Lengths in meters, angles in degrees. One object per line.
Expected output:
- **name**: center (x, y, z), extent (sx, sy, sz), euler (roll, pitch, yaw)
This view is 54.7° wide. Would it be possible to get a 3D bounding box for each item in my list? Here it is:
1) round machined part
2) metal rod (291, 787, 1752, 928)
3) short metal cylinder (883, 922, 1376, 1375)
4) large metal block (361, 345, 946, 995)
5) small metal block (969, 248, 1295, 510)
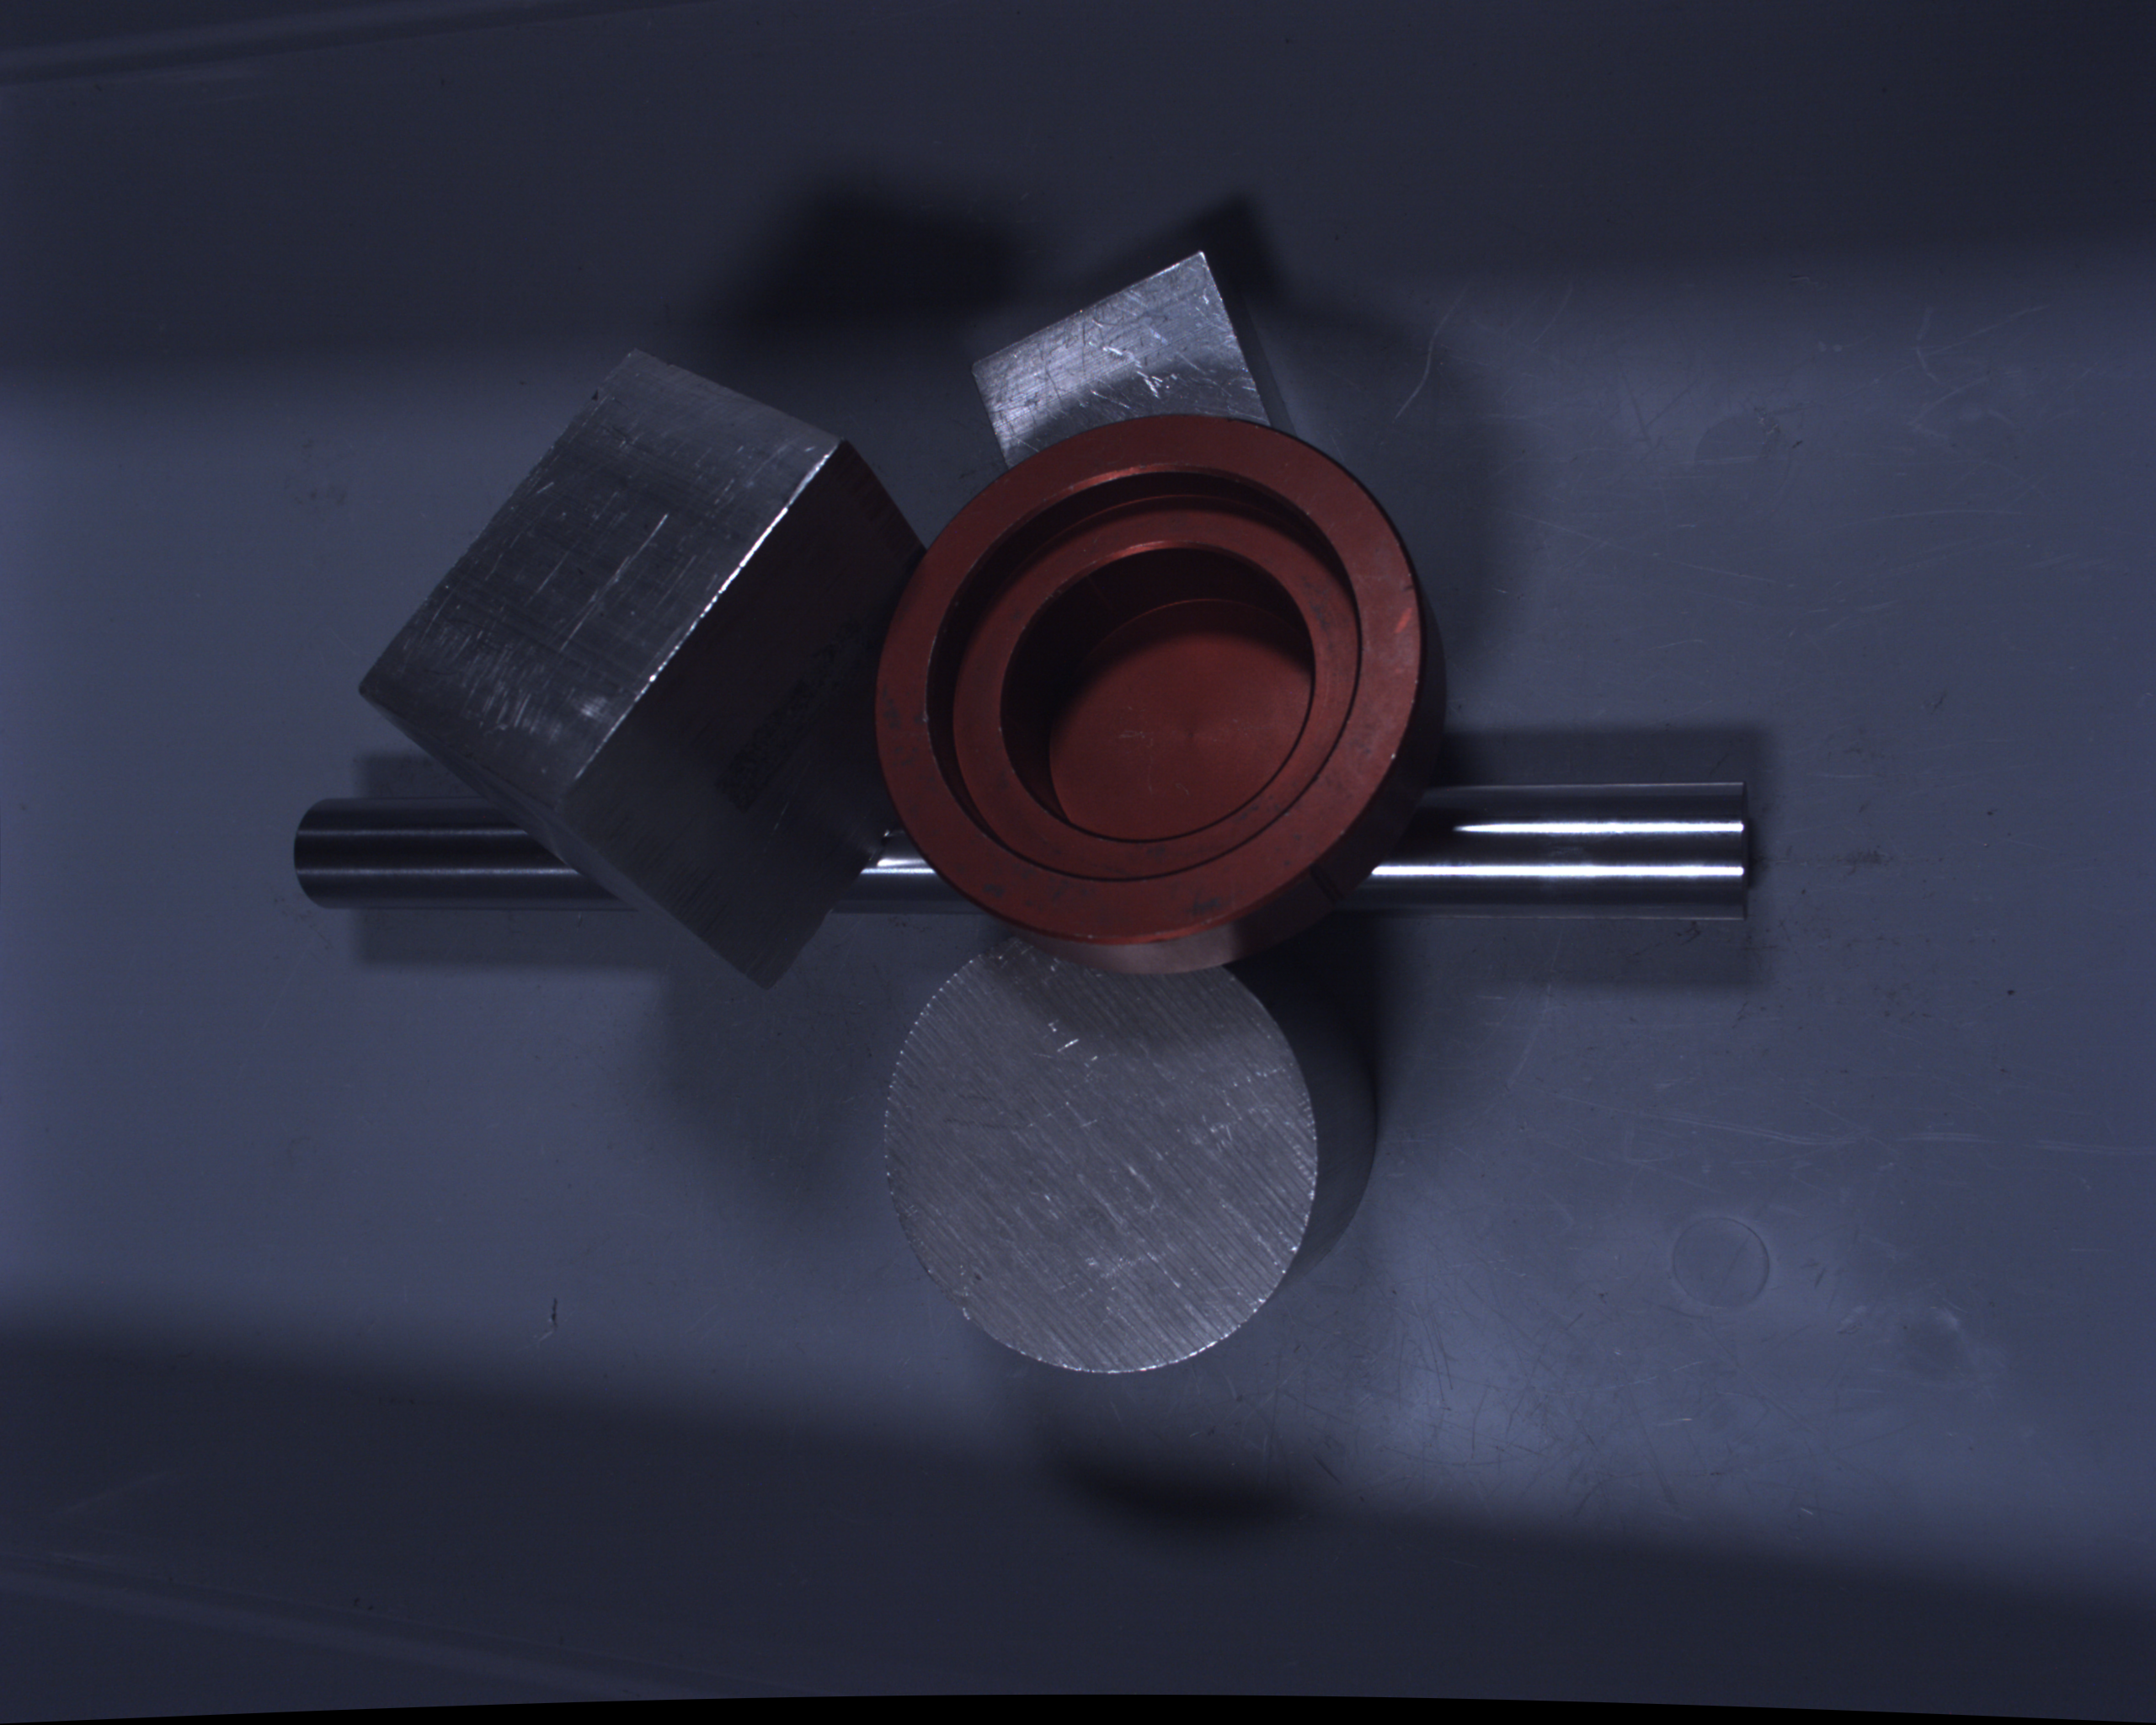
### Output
- **round machined part**: center (0.017, -0.027, 0.373), extent (0.098, 0.042, 0.098), euler (-6, 70, 18)
- **metal rod**: center (-0.024, -0.001, 0.415), extent (0.301, 0.025, 0.025), euler (0, 90, 19)
- **short metal cylinder**: center (0.011, 0.050, 0.390), extent (0.080, 0.050, 0.079), euler (0, 90, 19)
- **large metal block**: center (-0.069, -0.034, 0.387), extent (0.050, 0.080, 0.080), euler (28, 76, 28)
- **small metal block**: center (0.014, -0.082, 0.404), extent (0.050, 0.025, 0.050), euler (-22, 83, 18)
